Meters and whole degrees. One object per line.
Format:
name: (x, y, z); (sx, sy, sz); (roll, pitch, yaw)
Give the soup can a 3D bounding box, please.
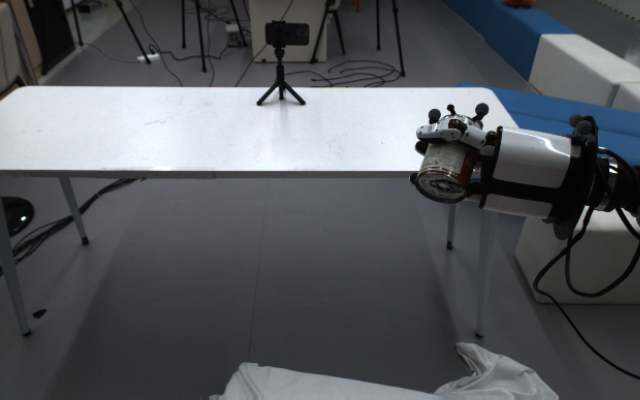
soup can: (0.175, -0.057, 0.652); (0.067, 0.067, 0.101); (15, 64, 18)
